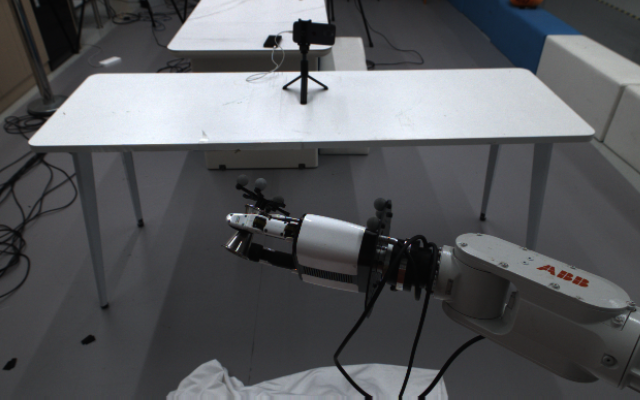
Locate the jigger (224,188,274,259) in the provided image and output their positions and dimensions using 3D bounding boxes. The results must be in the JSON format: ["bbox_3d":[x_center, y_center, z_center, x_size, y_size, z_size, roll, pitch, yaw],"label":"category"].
[{"bbox_3d":[-0.105,0.042,0.678,0.043,0.043,0.071,20,74,24],"label":"jigger"}]
